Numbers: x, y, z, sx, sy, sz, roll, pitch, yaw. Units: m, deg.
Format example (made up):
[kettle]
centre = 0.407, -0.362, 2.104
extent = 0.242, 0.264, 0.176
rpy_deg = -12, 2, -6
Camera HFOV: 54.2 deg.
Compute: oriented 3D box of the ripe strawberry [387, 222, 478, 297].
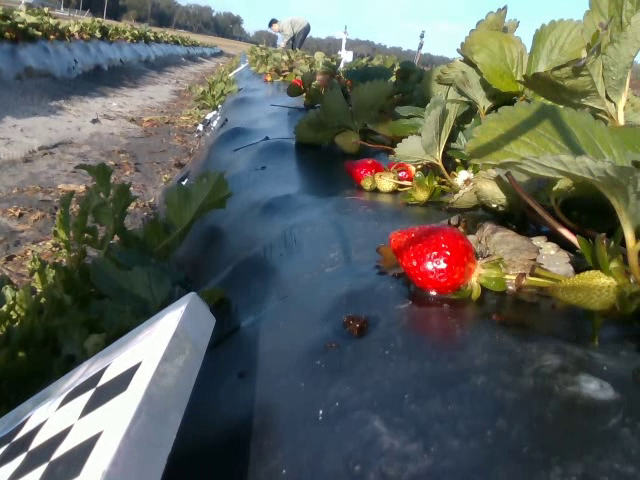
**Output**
[ripe strawberry]
centre = 0.044, 0.006, 0.291
extent = 0.054, 0.038, 0.047
rpy_deg = 17, 33, 8
